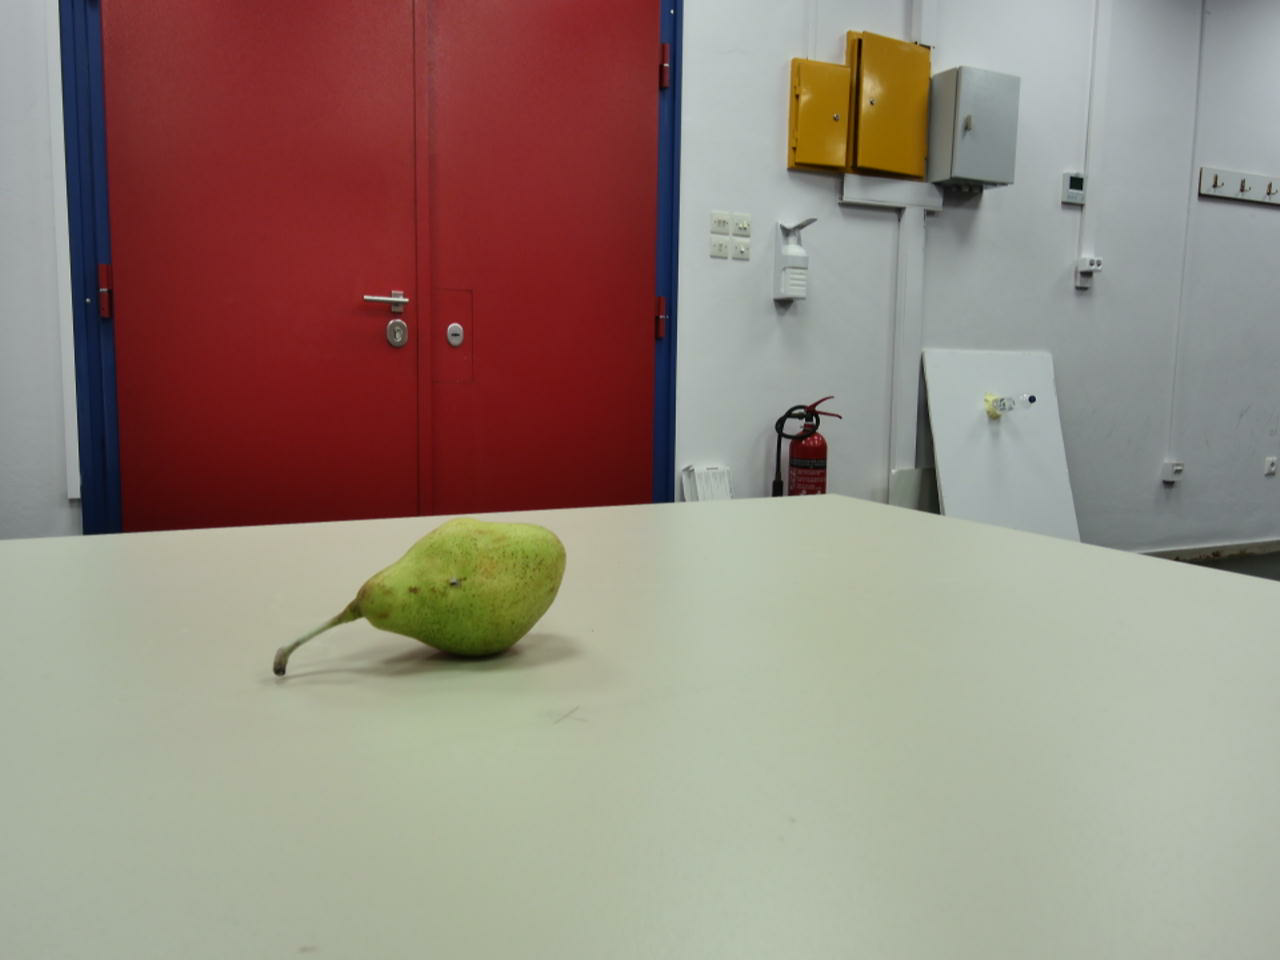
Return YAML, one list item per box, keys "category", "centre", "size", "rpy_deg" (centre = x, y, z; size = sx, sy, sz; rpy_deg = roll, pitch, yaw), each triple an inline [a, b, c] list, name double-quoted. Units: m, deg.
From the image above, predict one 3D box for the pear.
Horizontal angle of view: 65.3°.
- category: "pear"
  centre: [-0.086, 0.044, 0.404]
  size: [0.111, 0.056, 0.056]
  rpy_deg: [-1, 4, -11]
